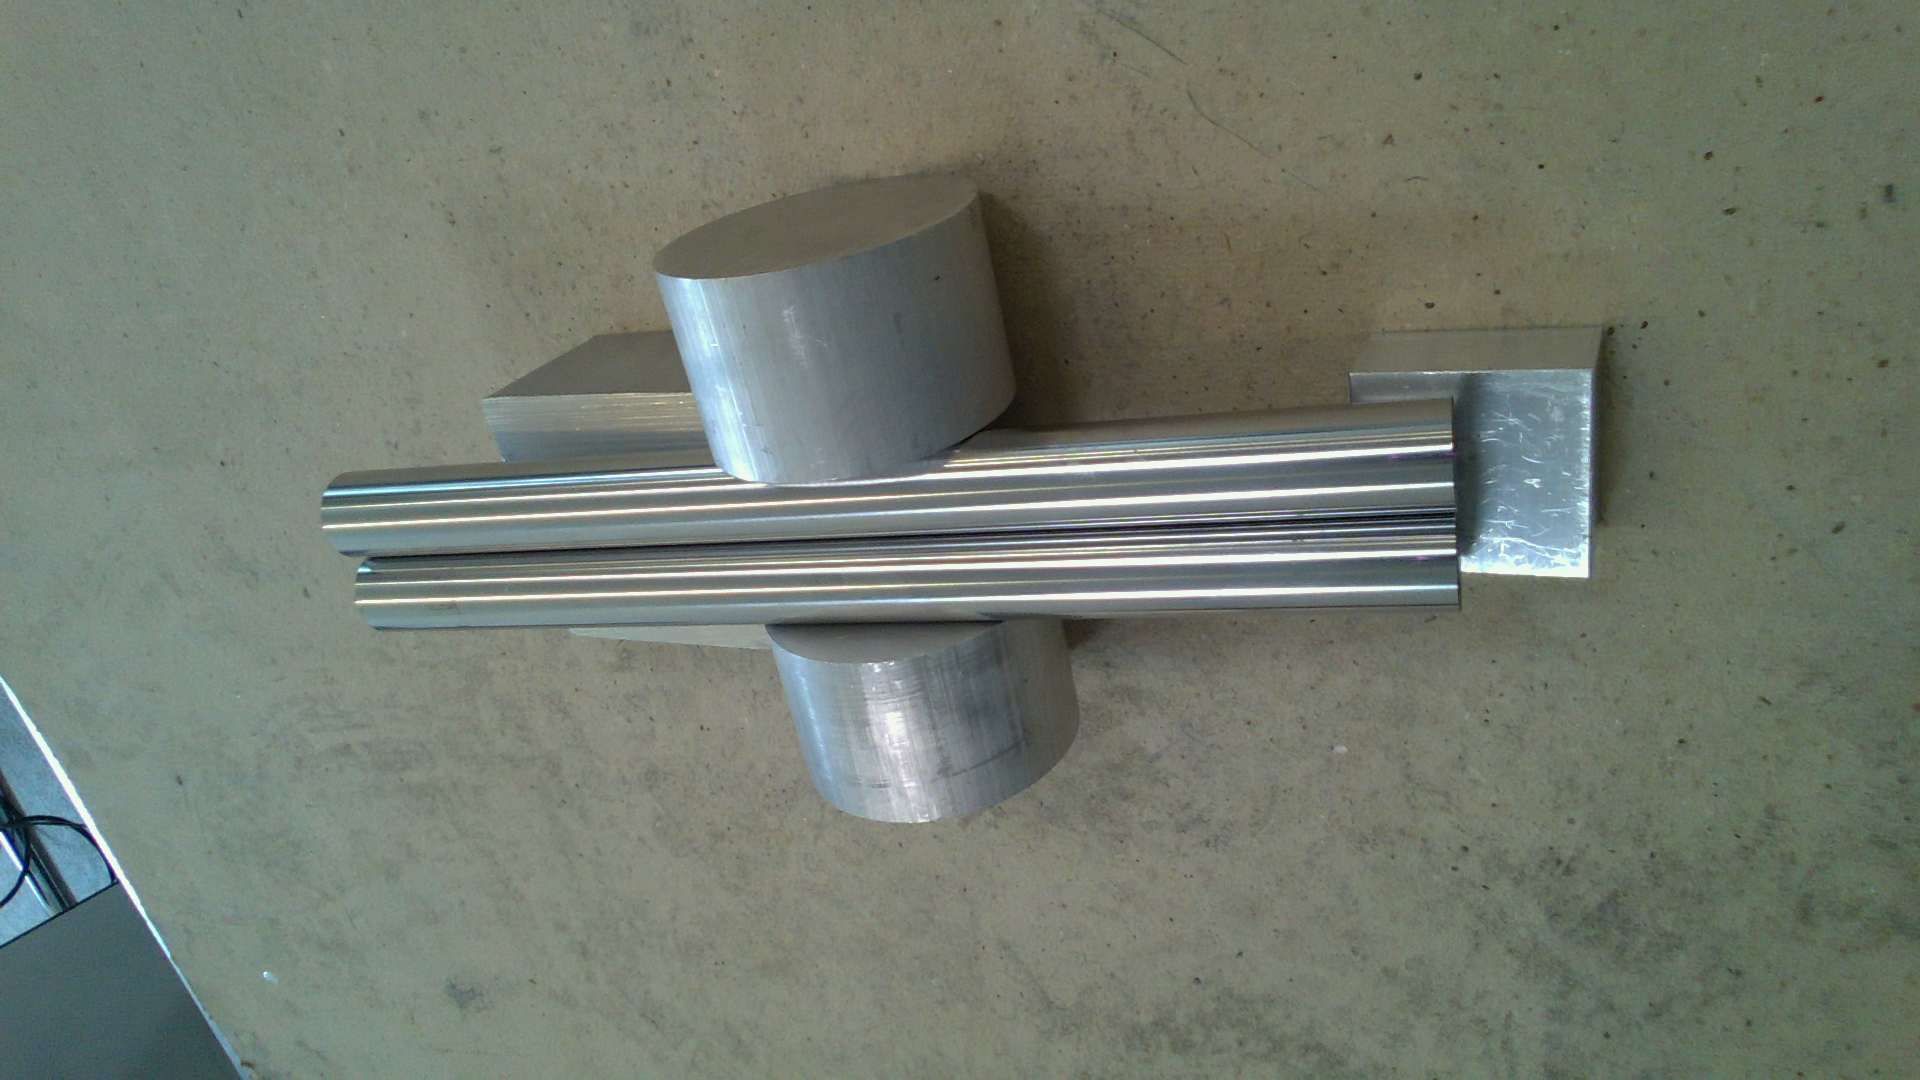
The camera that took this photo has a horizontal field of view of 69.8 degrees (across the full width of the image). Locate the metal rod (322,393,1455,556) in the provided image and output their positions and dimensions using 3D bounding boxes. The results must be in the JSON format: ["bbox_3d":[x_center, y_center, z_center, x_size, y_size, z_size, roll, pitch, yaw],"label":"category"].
[{"bbox_3d":[-0.035,-0.013,0.346,0.299,0.025,0.025,-2,118,20],"label":"metal rod"}]

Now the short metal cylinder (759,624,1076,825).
[{"bbox_3d":[-0.011,0.034,0.384,0.080,0.080,0.050,2,119,28],"label":"short metal cylinder"}]

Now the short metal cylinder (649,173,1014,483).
[{"bbox_3d":[-0.030,-0.054,0.340,0.080,0.080,0.050,2,119,28],"label":"short metal cylinder"}]

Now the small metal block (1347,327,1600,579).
[{"bbox_3d":[0.119,-0.020,0.317,0.050,0.025,0.050,3,120,27],"label":"small metal block"}]

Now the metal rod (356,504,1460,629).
[{"bbox_3d":[-0.030,0.009,0.357,0.299,0.025,0.025,-2,118,20],"label":"metal rod"}]

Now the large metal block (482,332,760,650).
[{"bbox_3d":[-0.083,-0.016,0.412,0.080,0.050,0.080,2,119,27],"label":"large metal block"}]
